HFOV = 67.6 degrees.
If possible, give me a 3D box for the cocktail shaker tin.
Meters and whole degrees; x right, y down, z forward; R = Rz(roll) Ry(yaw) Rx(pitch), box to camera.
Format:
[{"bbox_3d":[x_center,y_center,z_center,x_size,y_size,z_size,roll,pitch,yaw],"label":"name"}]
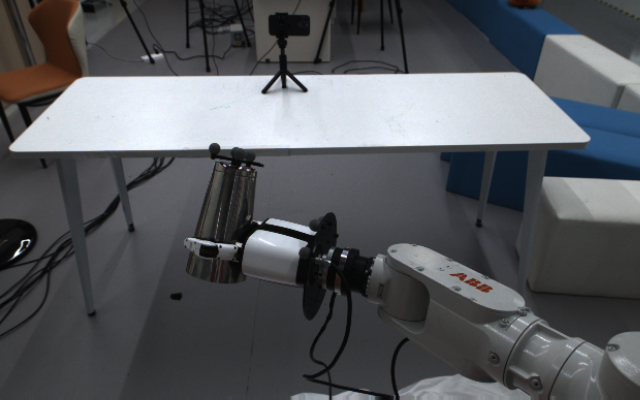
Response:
[{"bbox_3d":[-0.144,0.031,0.735,0.093,0.170,0.093,11,5,-1],"label":"cocktail shaker tin"}]
